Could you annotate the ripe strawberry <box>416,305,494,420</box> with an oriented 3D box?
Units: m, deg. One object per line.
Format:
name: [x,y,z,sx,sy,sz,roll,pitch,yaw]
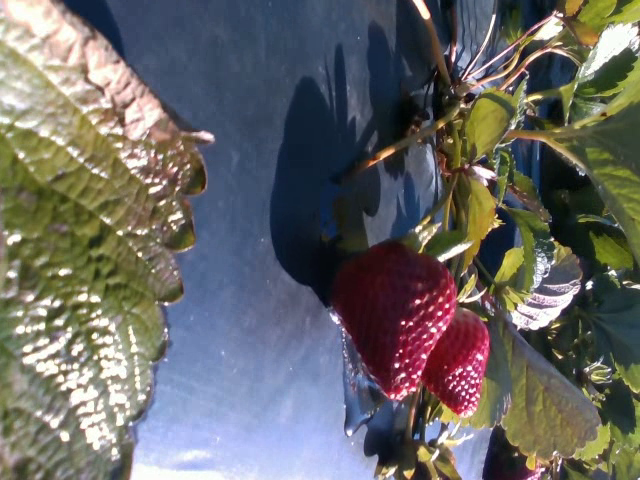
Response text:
ripe strawberry: [0.054,0.051,0.250,0.042,0.049,0.039,-6,-14,-29]

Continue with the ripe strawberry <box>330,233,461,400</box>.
ripe strawberry: [0.024,0.027,0.188,0.044,0.050,0.051,-6,-33,5]
